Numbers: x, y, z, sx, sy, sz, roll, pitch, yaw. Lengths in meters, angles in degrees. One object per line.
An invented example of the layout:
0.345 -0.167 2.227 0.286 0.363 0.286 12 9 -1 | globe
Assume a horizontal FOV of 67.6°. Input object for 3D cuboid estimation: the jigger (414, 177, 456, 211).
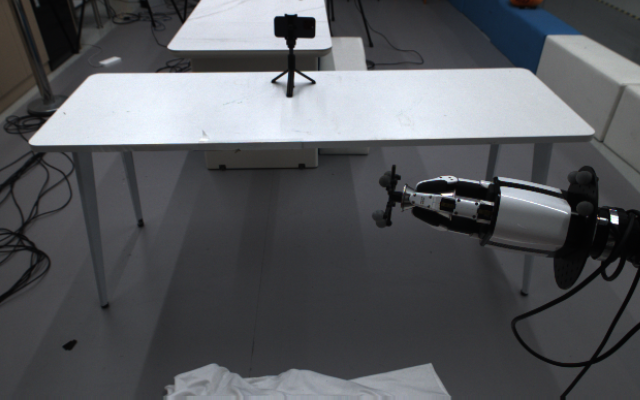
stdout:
0.154 -0.002 0.661 0.071 0.043 0.043 8 35 16 | jigger
